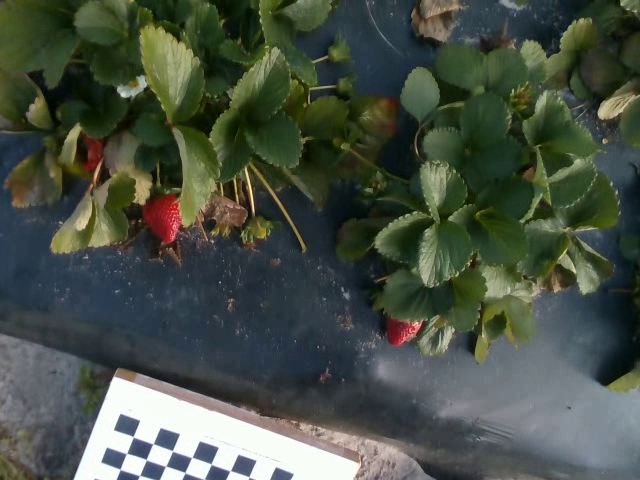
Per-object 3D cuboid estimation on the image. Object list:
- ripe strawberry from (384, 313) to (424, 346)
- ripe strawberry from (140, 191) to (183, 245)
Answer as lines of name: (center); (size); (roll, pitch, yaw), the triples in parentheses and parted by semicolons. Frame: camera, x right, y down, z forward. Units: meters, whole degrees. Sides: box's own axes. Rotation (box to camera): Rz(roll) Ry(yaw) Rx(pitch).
ripe strawberry: (0.056, 0.062, 0.412); (0.029, 0.036, 0.021); (25, 5, -5)
ripe strawberry: (-0.099, -0.012, 0.374); (0.031, 0.030, 0.026); (-13, -3, 0)
